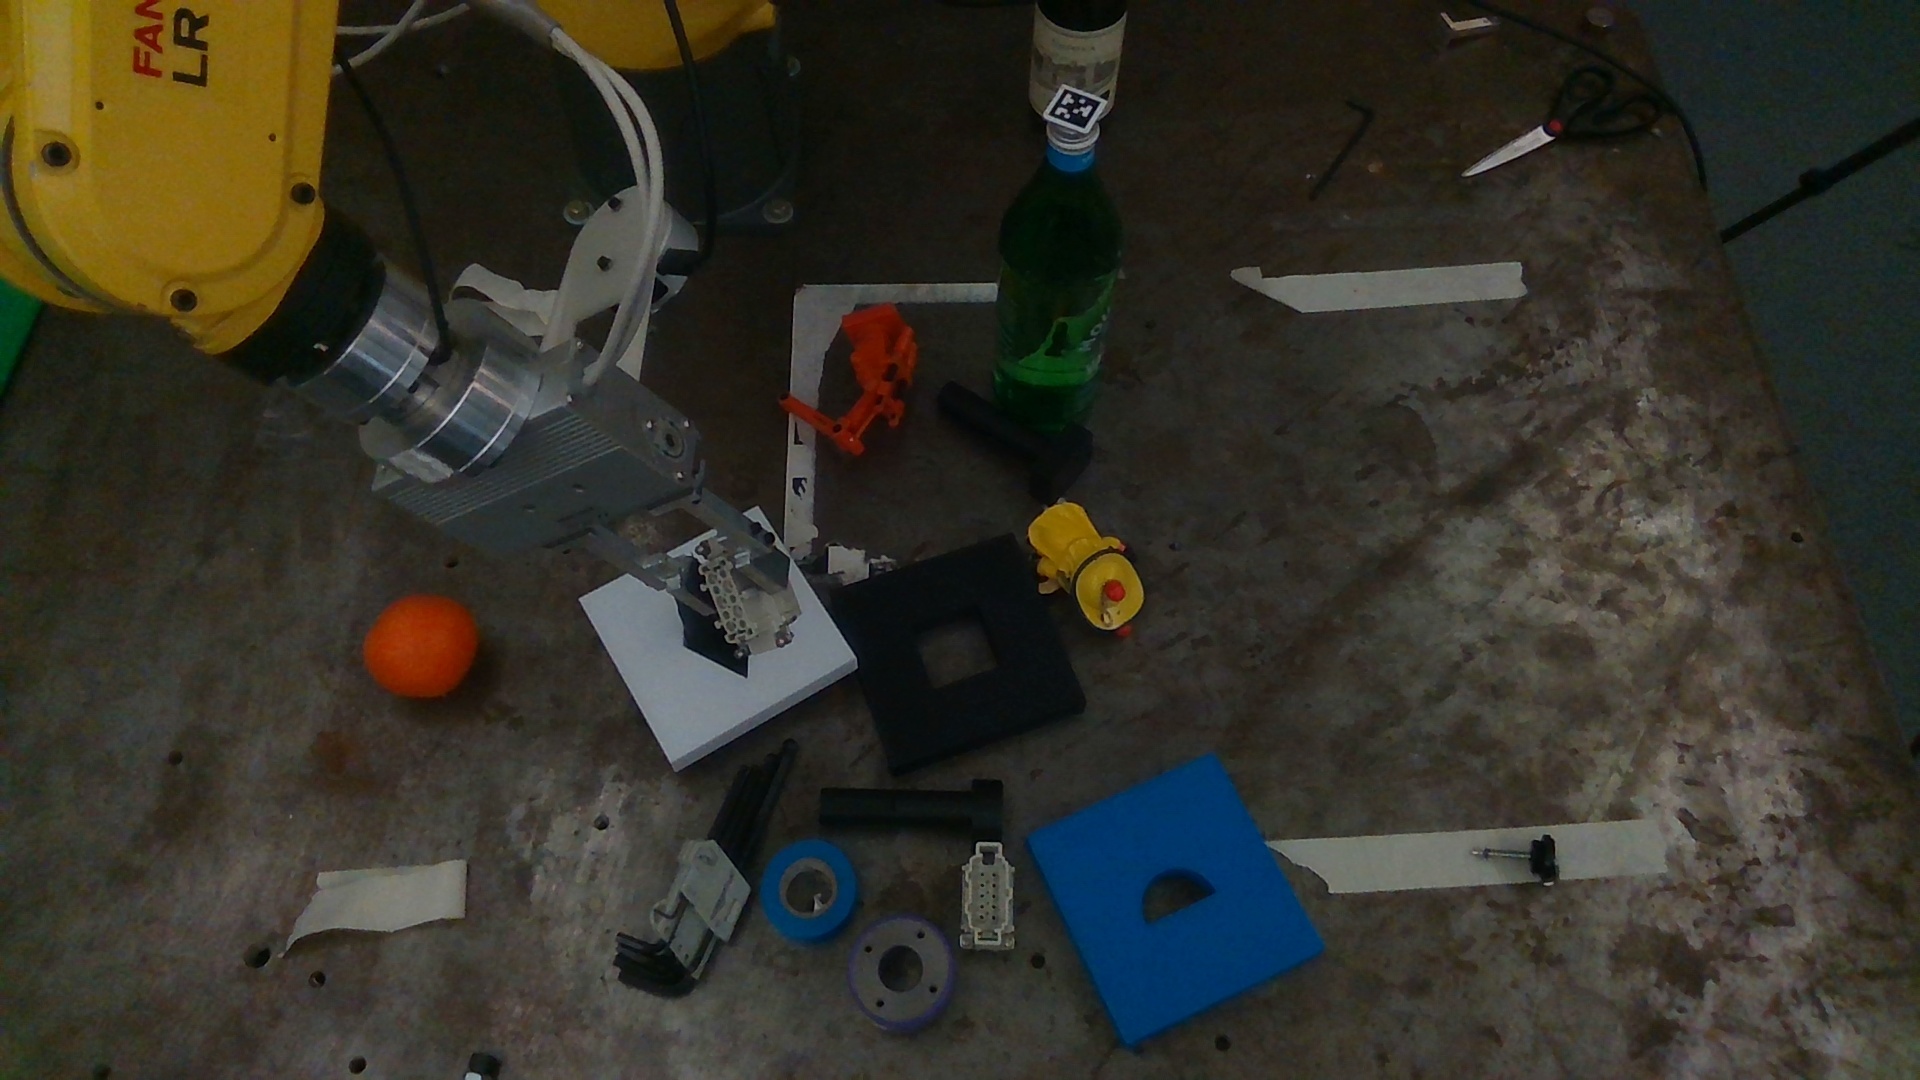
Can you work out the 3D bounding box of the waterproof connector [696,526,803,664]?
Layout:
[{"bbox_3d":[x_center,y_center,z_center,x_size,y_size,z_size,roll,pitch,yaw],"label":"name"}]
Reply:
[{"bbox_3d":[-0.111,0.028,0.721,0.037,0.038,0.069,-19,89,24],"label":"waterproof connector"}]
